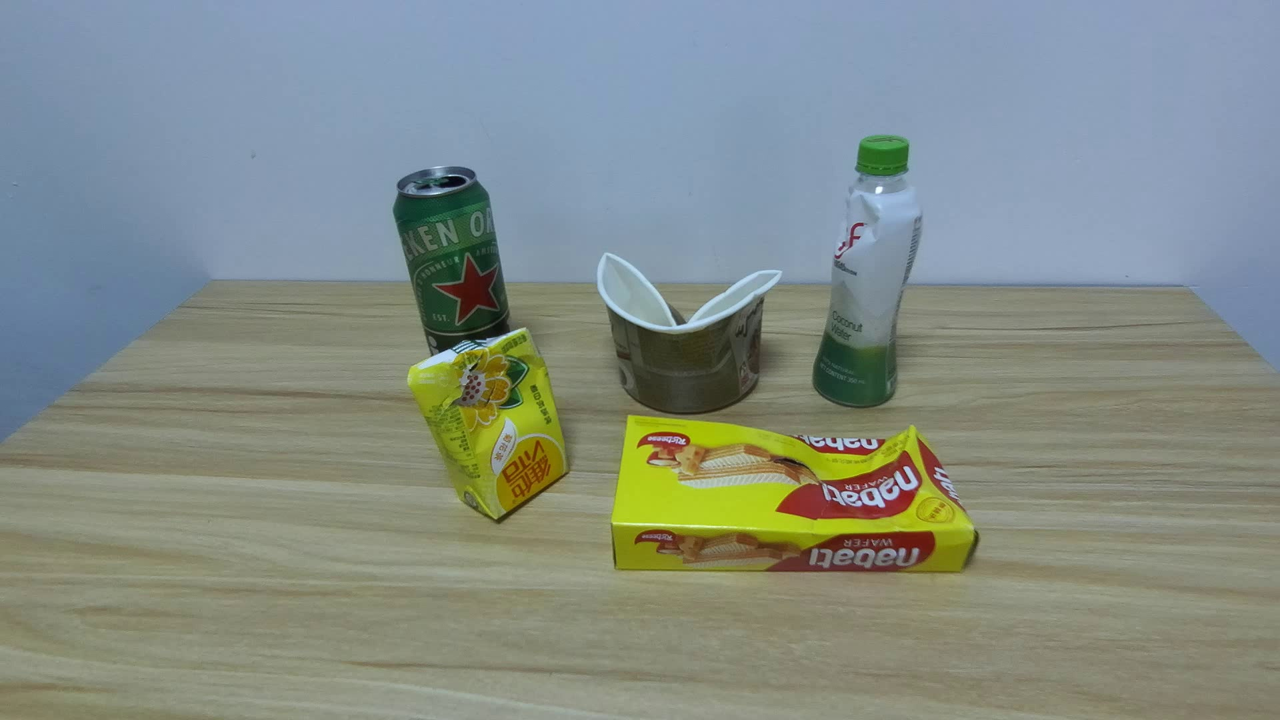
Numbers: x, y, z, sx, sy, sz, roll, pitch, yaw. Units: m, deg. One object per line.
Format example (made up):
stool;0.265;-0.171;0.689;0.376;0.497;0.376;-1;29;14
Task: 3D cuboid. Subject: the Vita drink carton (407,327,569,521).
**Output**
Vita drink carton;-0.094;0.037;0.452;0.042;0.108;0.087;13;32;44

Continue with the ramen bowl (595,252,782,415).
ramen bowl;0.030;-0.024;0.534;0.137;0.098;0.137;-4;33;3

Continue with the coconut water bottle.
coconut water bottle;0.159;-0.059;0.491;0.069;0.186;0.069;-3;32;2

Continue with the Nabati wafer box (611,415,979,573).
Nabati wafer box;0.089;0.077;0.432;0.204;0.042;0.107;1;36;4

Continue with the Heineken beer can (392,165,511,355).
Heineken beer can;-0.135;-0.053;0.531;0.067;0.169;0.067;-2;34;2
